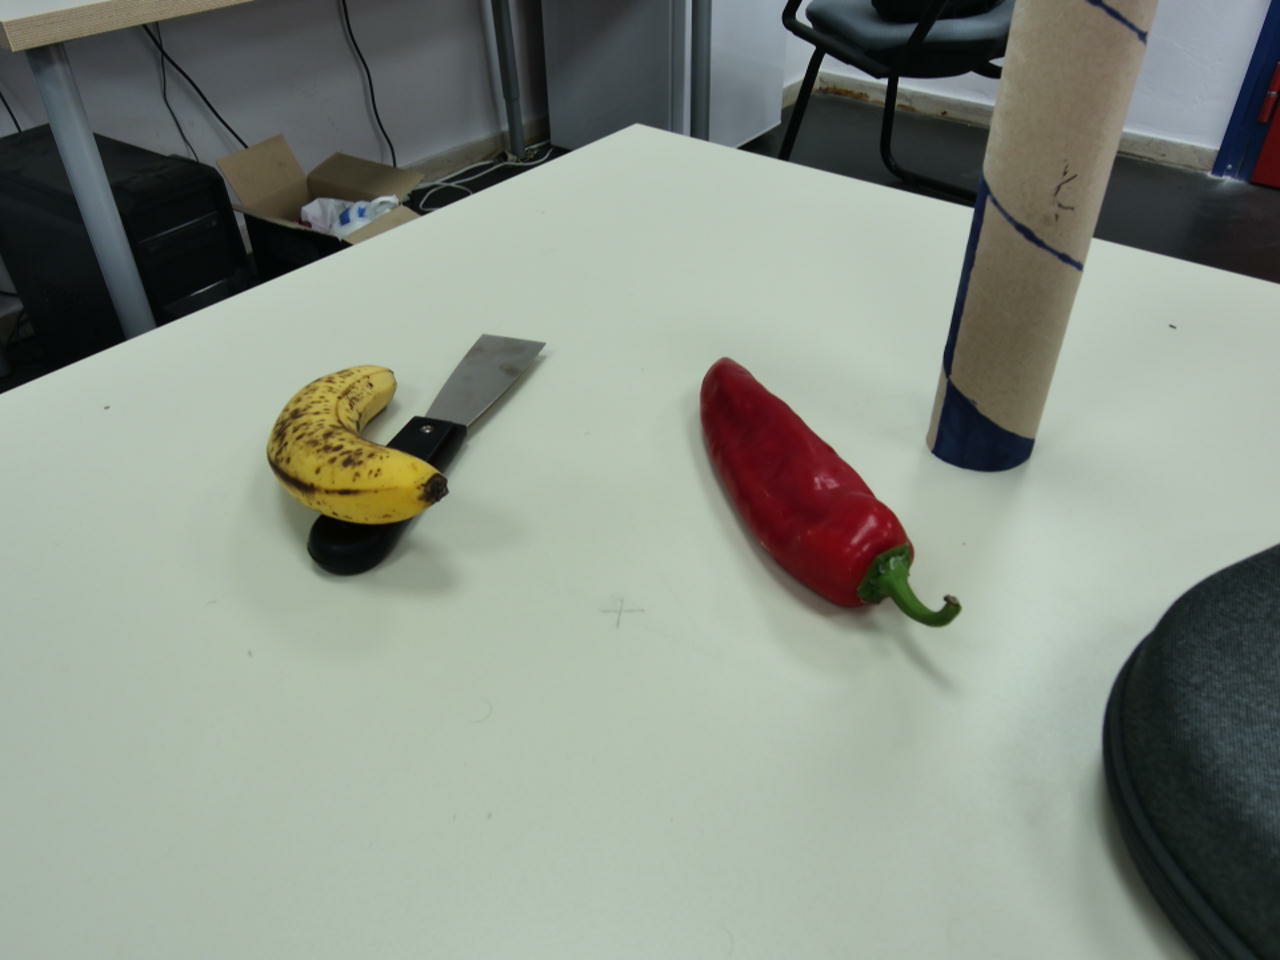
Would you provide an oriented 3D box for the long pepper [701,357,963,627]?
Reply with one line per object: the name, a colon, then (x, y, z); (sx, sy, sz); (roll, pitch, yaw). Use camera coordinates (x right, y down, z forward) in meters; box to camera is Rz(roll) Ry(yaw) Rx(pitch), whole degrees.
long pepper: (0.067, -0.001, 0.430); (0.050, 0.043, 0.211); (-11, 37, -14)
